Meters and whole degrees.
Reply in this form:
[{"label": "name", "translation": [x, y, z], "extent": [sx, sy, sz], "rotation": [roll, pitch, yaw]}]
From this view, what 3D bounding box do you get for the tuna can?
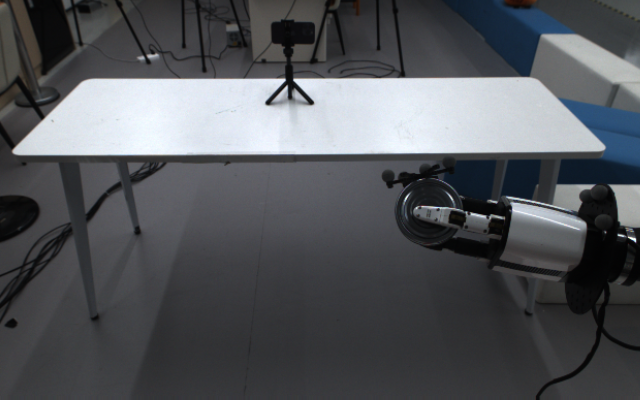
[{"label": "tuna can", "translation": [0.143, 0.021, 0.618], "extent": [0.085, 0.085, 0.034], "rotation": [12, -6, 14]}]
